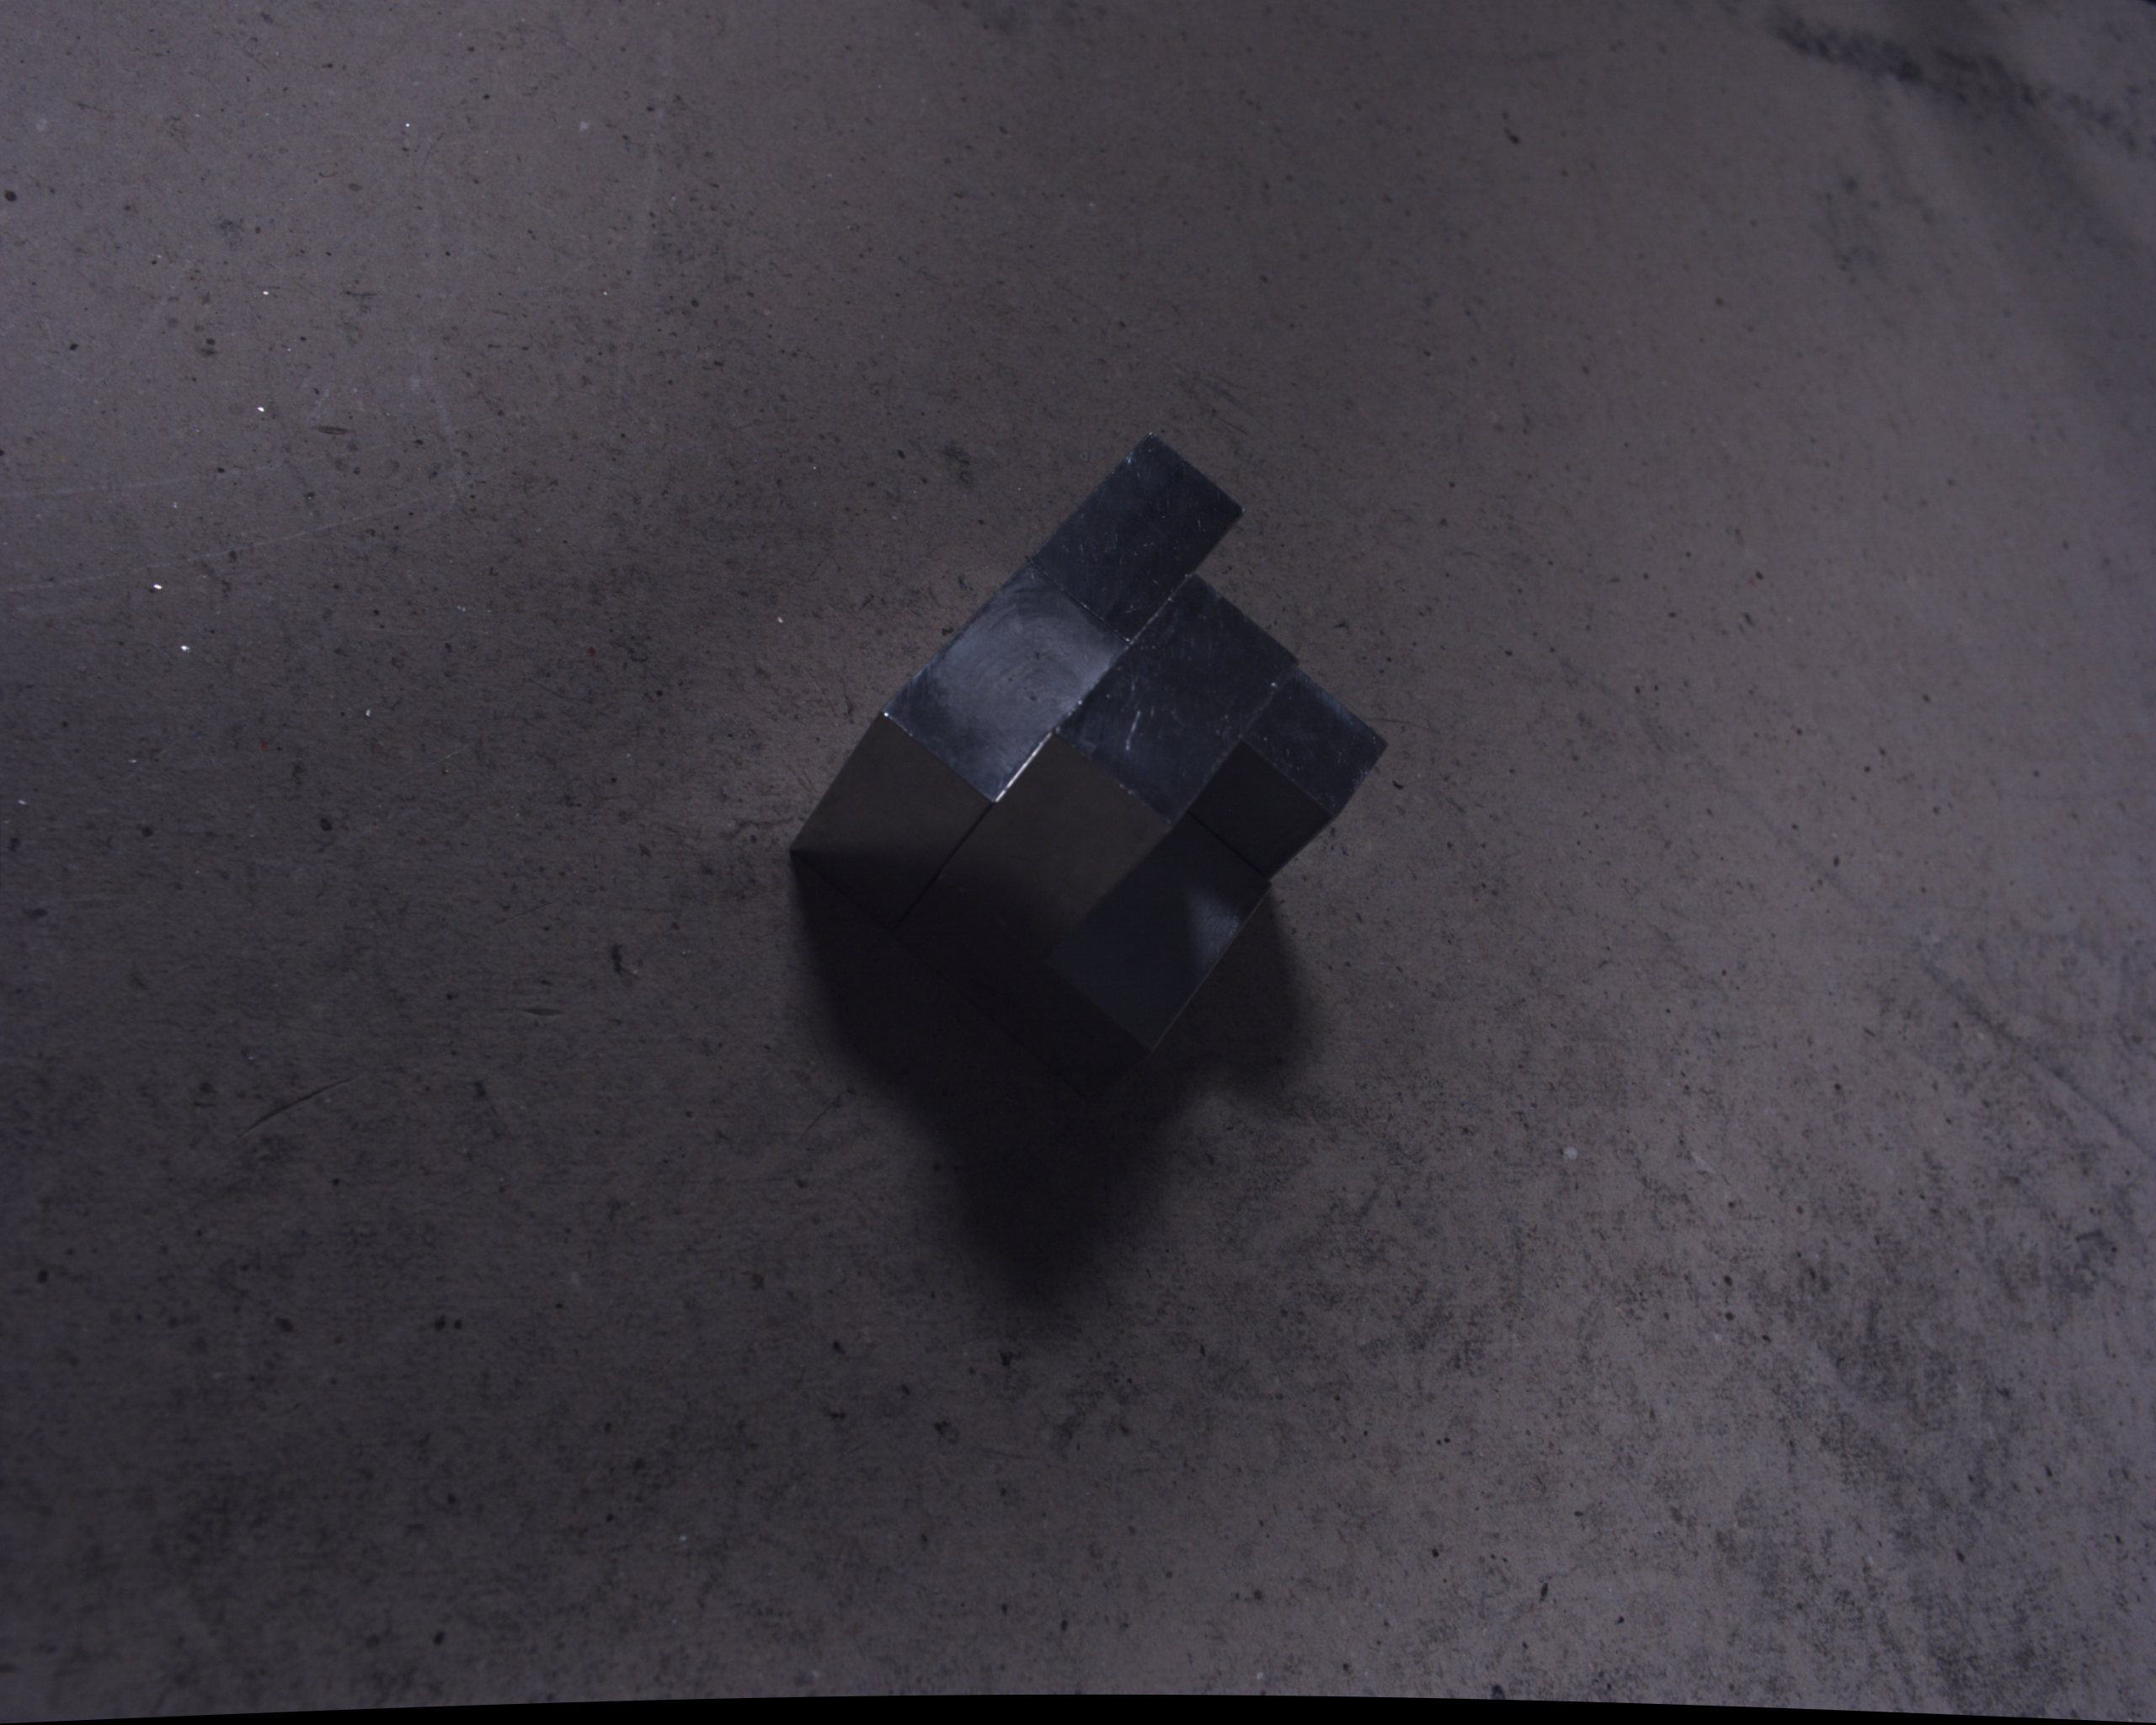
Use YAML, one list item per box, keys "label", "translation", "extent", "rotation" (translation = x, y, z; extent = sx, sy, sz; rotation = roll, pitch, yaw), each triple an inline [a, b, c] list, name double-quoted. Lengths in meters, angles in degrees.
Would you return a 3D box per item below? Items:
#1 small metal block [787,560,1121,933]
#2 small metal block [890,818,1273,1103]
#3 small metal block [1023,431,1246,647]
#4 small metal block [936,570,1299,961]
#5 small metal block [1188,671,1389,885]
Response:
- label: "small metal block"
  translation: [-0.023, -0.021, 0.391]
  extent: [0.025, 0.050, 0.050]
  rotation: [40, 51, -2]
- label: "small metal block"
  translation: [0.001, 0.009, 0.402]
  extent: [0.050, 0.025, 0.050]
  rotation: [40, 51, -1]
- label: "small metal block"
  translation: [0.002, -0.052, 0.423]
  extent: [0.025, 0.050, 0.050]
  rotation: [40, 51, -2]
- label: "small metal block"
  translation: [0.007, -0.017, 0.372]
  extent: [0.025, 0.050, 0.050]
  rotation: [40, 51, -2]
- label: "small metal block"
  translation: [0.025, -0.020, 0.416]
  extent: [0.050, 0.050, 0.025]
  rotation: [40, 51, -2]
